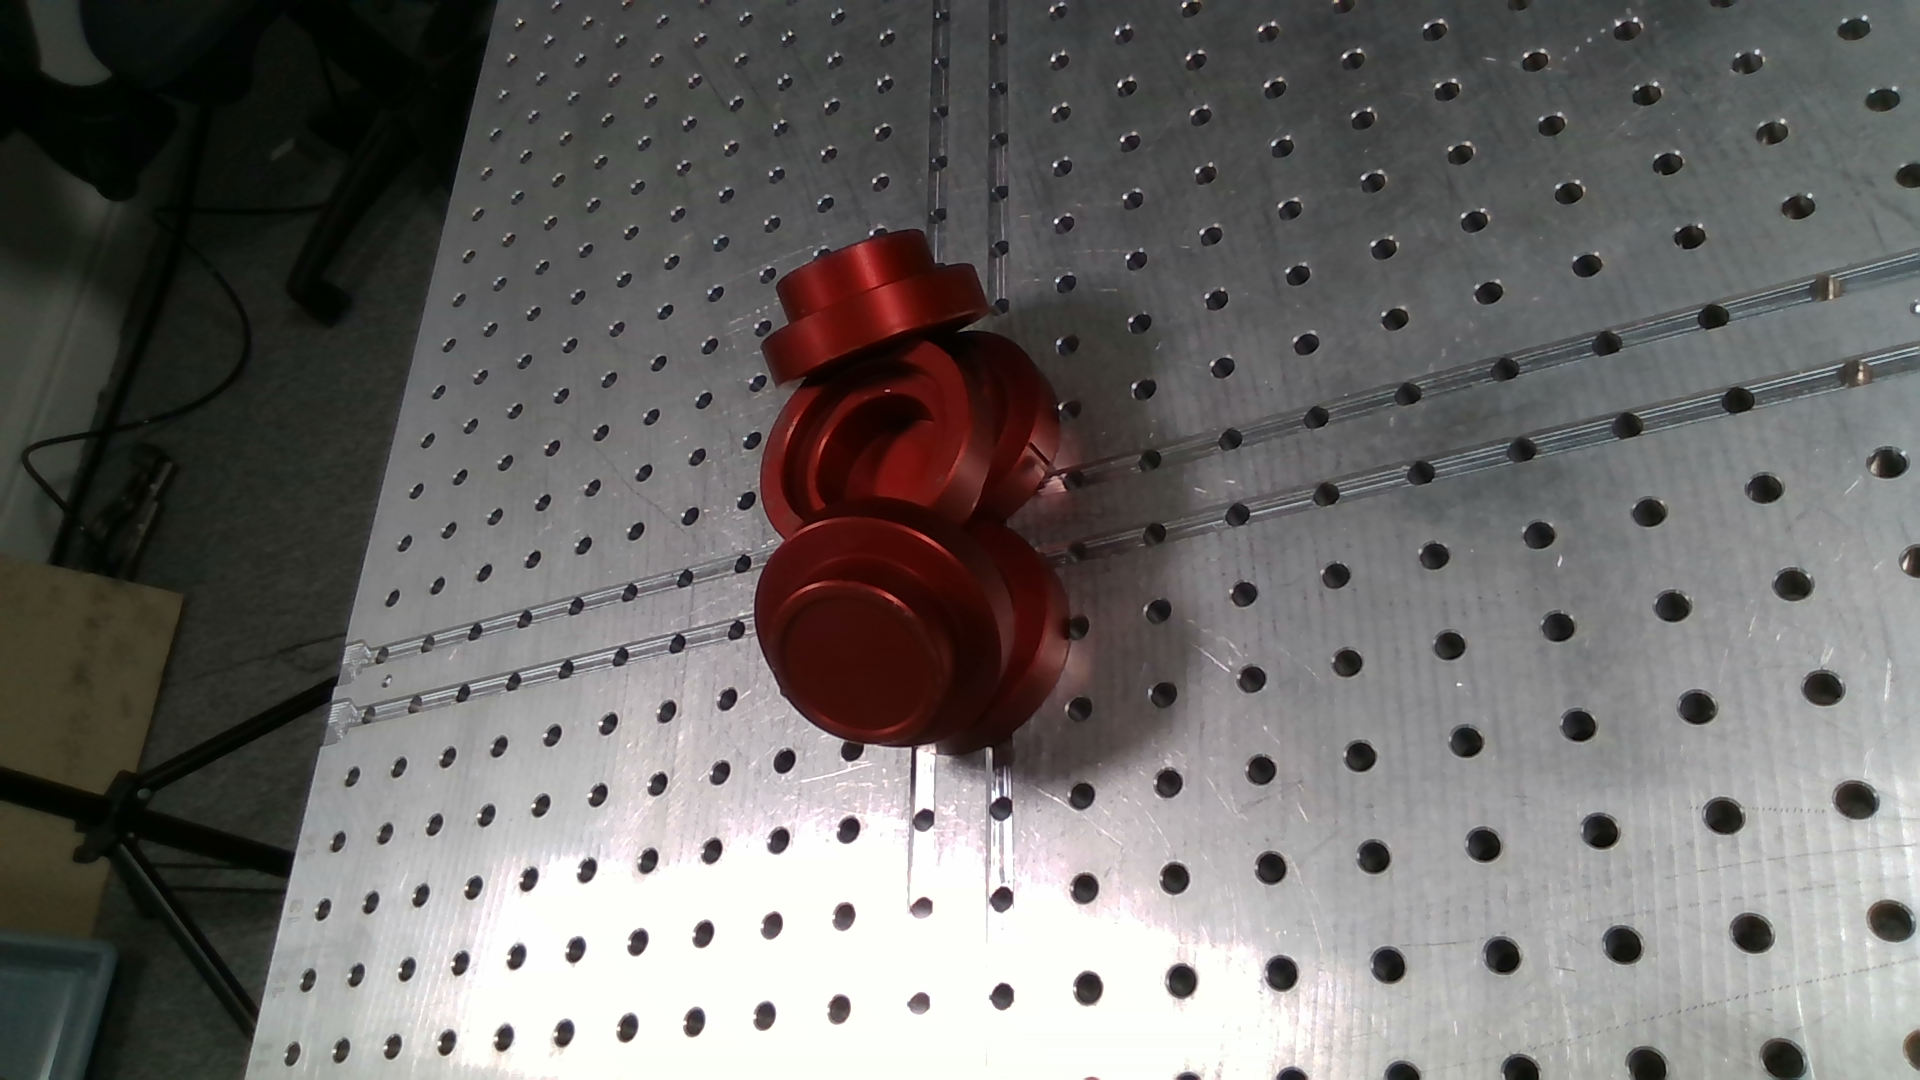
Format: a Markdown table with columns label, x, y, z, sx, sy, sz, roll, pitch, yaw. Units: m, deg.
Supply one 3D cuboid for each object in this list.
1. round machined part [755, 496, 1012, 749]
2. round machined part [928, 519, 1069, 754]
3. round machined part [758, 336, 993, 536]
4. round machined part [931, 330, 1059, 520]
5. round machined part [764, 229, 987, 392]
| label | x | y | z | sx | sy | sz | roll | pitch | yaw |
| --- | --- | --- | --- | --- | --- | --- | --- | --- | --- |
| round machined part | -0.032 | 0.036 | 0.512 | 0.098 | 0.098 | 0.042 | -14 | 19 | 25 |
| round machined part | -0.009 | 0.035 | 0.564 | 0.098 | 0.042 | 0.098 | -14 | 59 | 25 |
| round machined part | -0.030 | -0.030 | 0.556 | 0.098 | 0.042 | 0.098 | -14 | 59 | 25 |
| round machined part | -0.009 | -0.051 | 0.610 | 0.098 | 0.042 | 0.098 | -14 | 59 | 25 |
| round machined part | -0.040 | -0.100 | 0.589 | 0.098 | 0.098 | 0.042 | -20 | 94 | 22 |
